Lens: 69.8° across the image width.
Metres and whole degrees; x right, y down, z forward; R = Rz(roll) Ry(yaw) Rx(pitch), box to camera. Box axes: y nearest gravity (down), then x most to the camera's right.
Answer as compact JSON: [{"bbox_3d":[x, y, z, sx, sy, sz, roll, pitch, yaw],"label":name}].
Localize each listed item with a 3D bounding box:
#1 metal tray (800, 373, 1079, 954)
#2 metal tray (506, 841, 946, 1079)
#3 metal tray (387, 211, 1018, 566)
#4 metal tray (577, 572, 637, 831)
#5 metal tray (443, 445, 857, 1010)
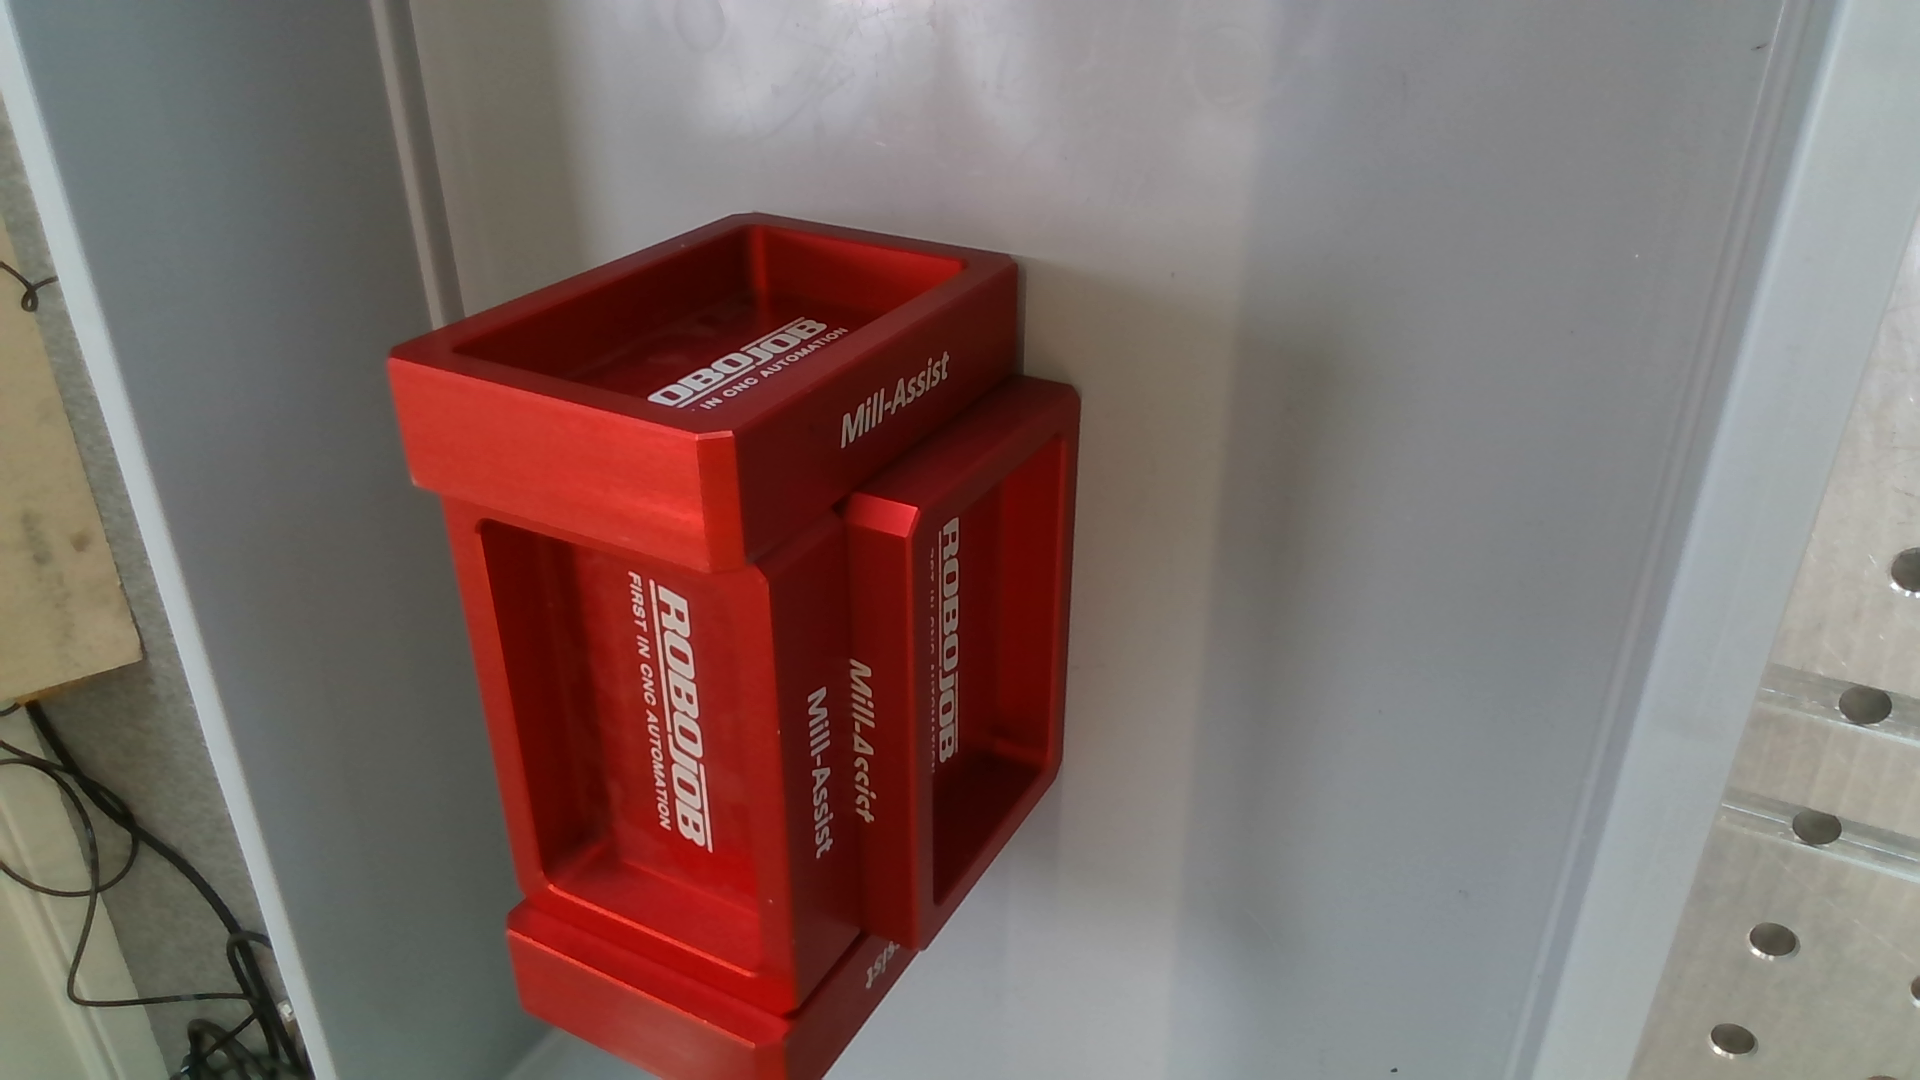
[{"bbox_3d":[-0.003,0.030,0.362,0.030,0.090,0.130,15,122,25],"label":"metal tray"},{"bbox_3d":[-0.054,0.098,0.406,0.090,0.130,0.030,15,122,25],"label":"metal tray"},{"bbox_3d":[-0.054,-0.044,0.329,0.090,0.130,0.030,15,122,25],"label":"metal tray"},{"bbox_3d":[-0.082,0.010,0.400,0.030,0.090,0.130,14,122,24],"label":"metal tray"},{"bbox_3d":[-0.073,0.044,0.336,0.090,0.030,0.130,15,122,24],"label":"metal tray"}]
